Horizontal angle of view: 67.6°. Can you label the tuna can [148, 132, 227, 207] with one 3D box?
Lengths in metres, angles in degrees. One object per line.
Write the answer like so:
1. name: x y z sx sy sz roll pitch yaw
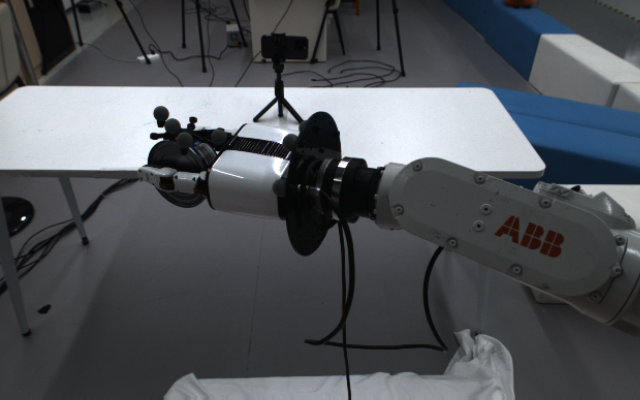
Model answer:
1. tuna can: -0.159 -0.037 0.578 0.085 0.085 0.034 16 28 19
